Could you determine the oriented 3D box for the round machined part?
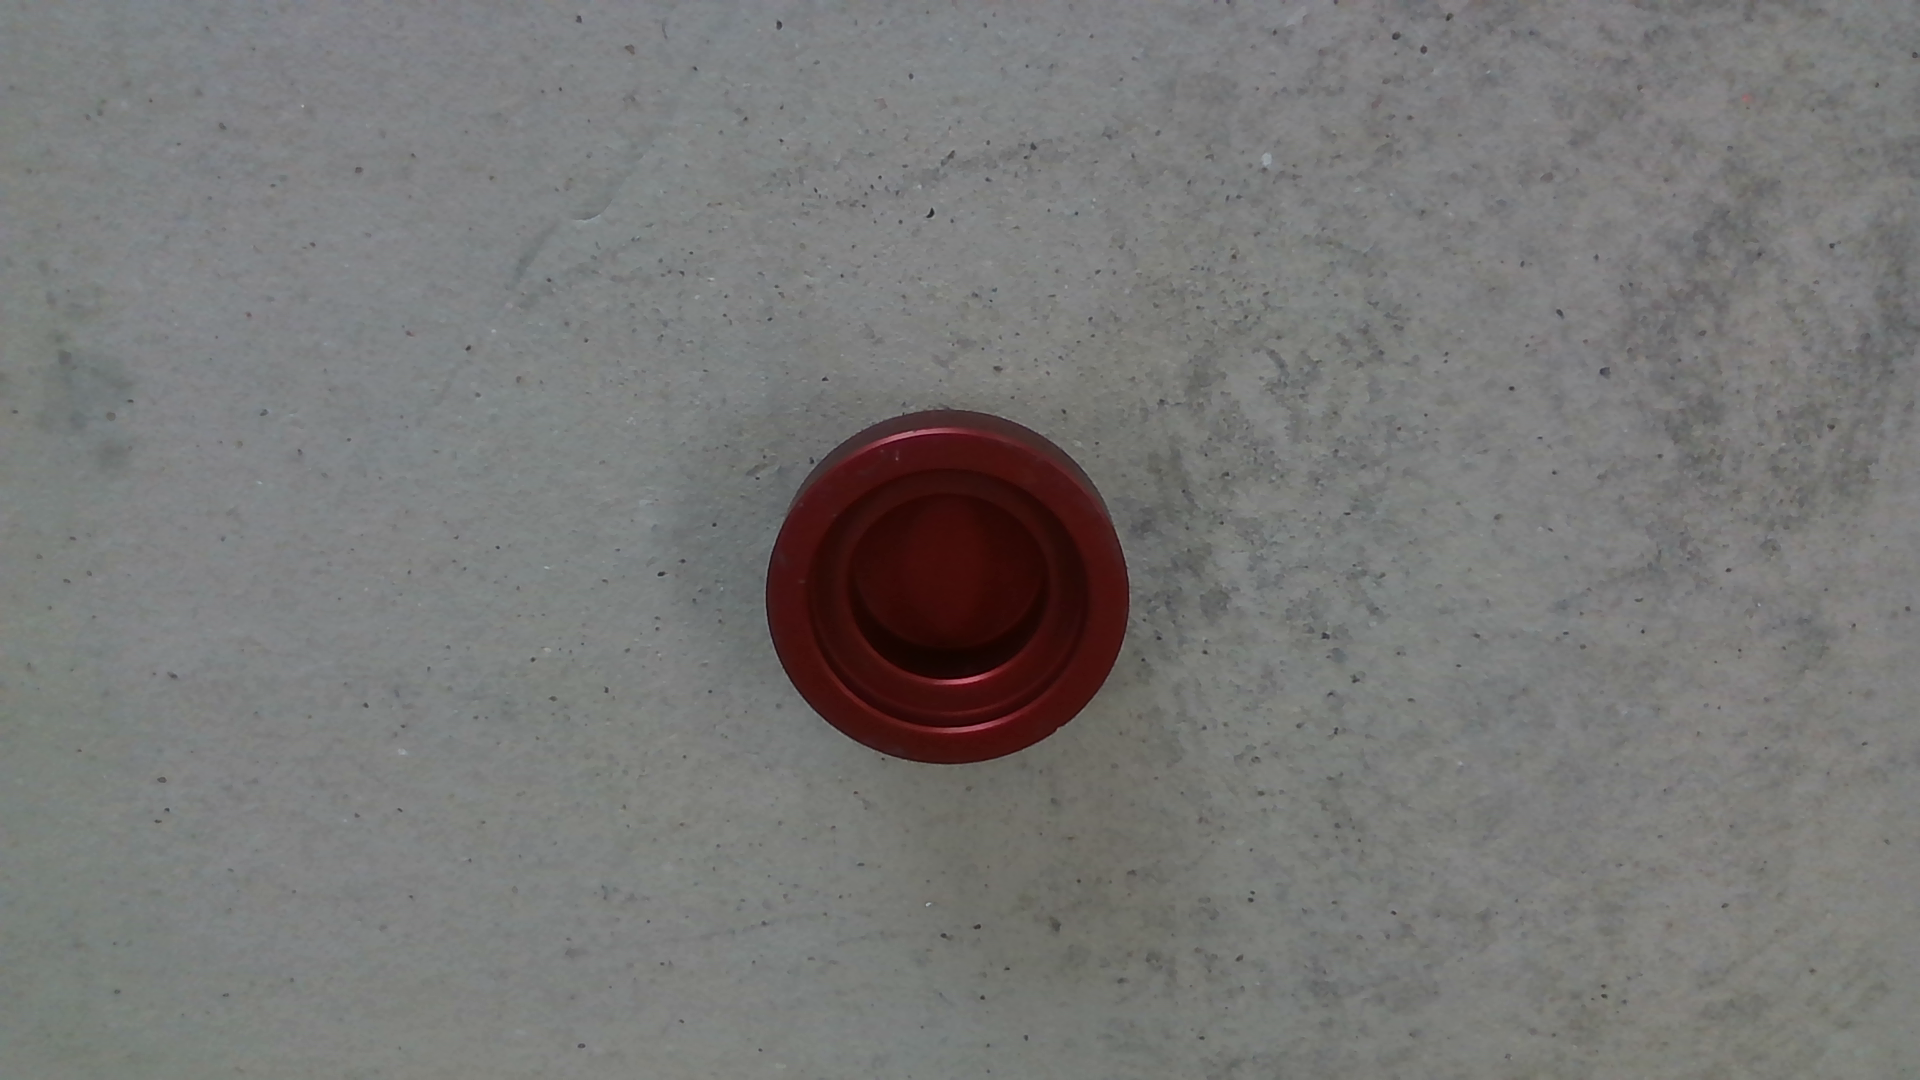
[{"bbox_3d":[-0.004,0.010,0.388,0.098,0.042,0.098,0,110,0],"label":"round machined part"}]
